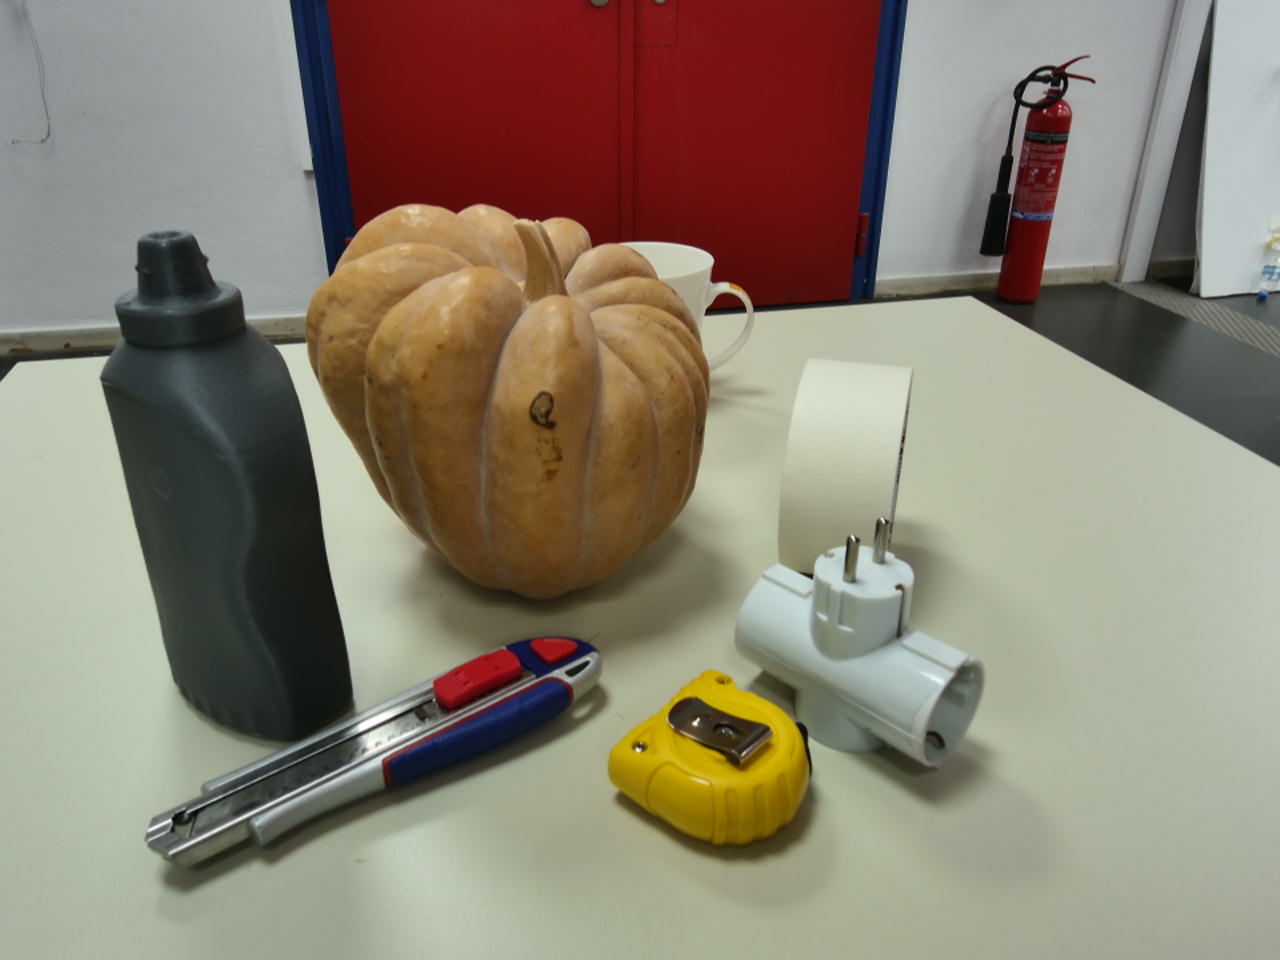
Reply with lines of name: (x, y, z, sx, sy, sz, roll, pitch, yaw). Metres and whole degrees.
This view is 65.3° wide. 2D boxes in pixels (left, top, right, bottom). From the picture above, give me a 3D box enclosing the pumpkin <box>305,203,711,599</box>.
pumpkin: (-0.059, -0.041, 0.485, 0.199, 0.177, 0.198, 0, 26, 0)
